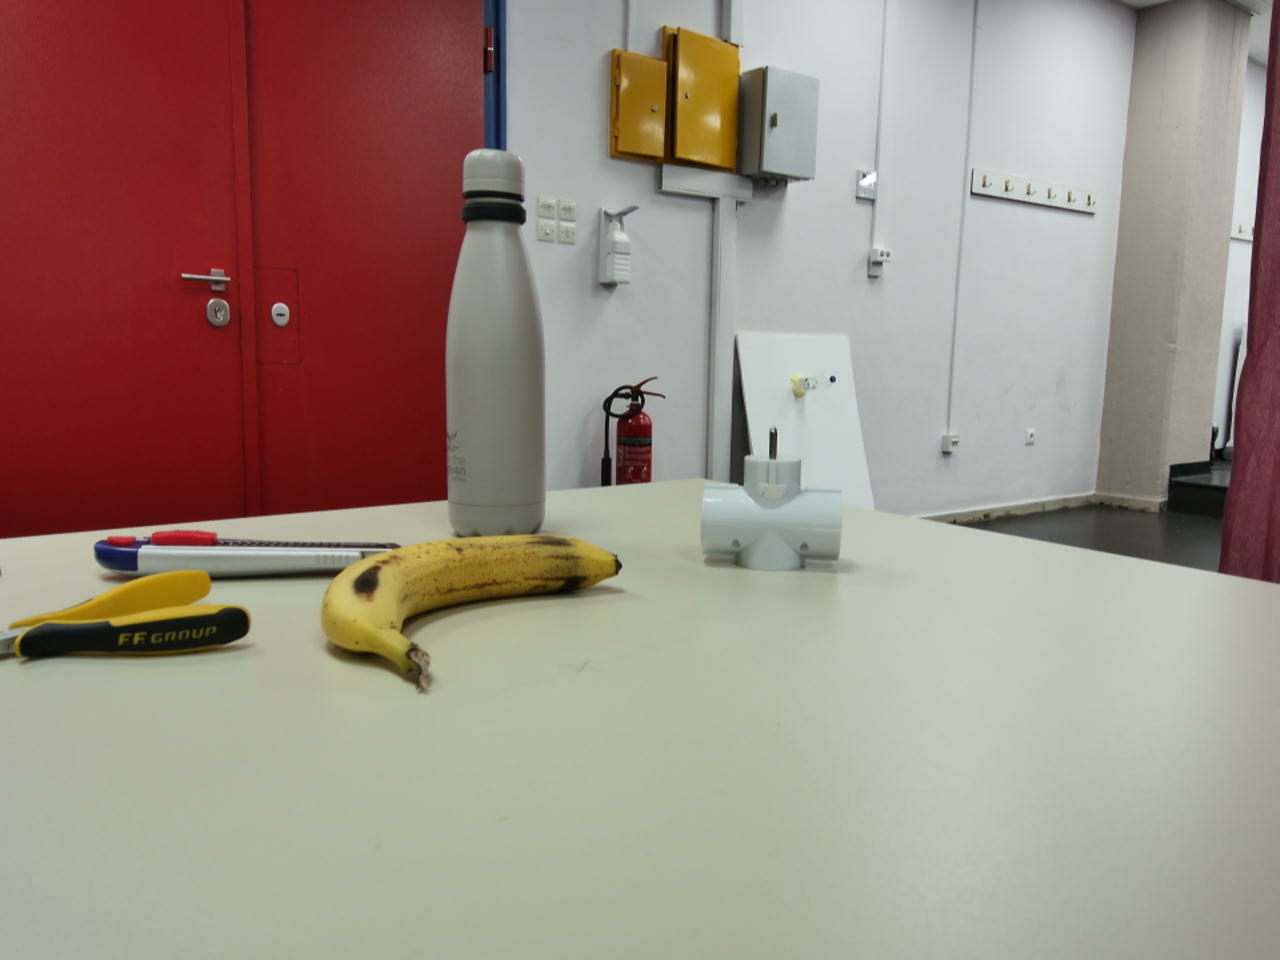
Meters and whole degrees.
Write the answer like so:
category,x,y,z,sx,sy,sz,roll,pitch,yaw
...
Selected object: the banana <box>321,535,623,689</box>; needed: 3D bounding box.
category,x,y,z,sx,sy,sz,roll,pitch,yaw
banana,-0.091,0.055,0.512,0.097,0.038,0.186,3,7,25
